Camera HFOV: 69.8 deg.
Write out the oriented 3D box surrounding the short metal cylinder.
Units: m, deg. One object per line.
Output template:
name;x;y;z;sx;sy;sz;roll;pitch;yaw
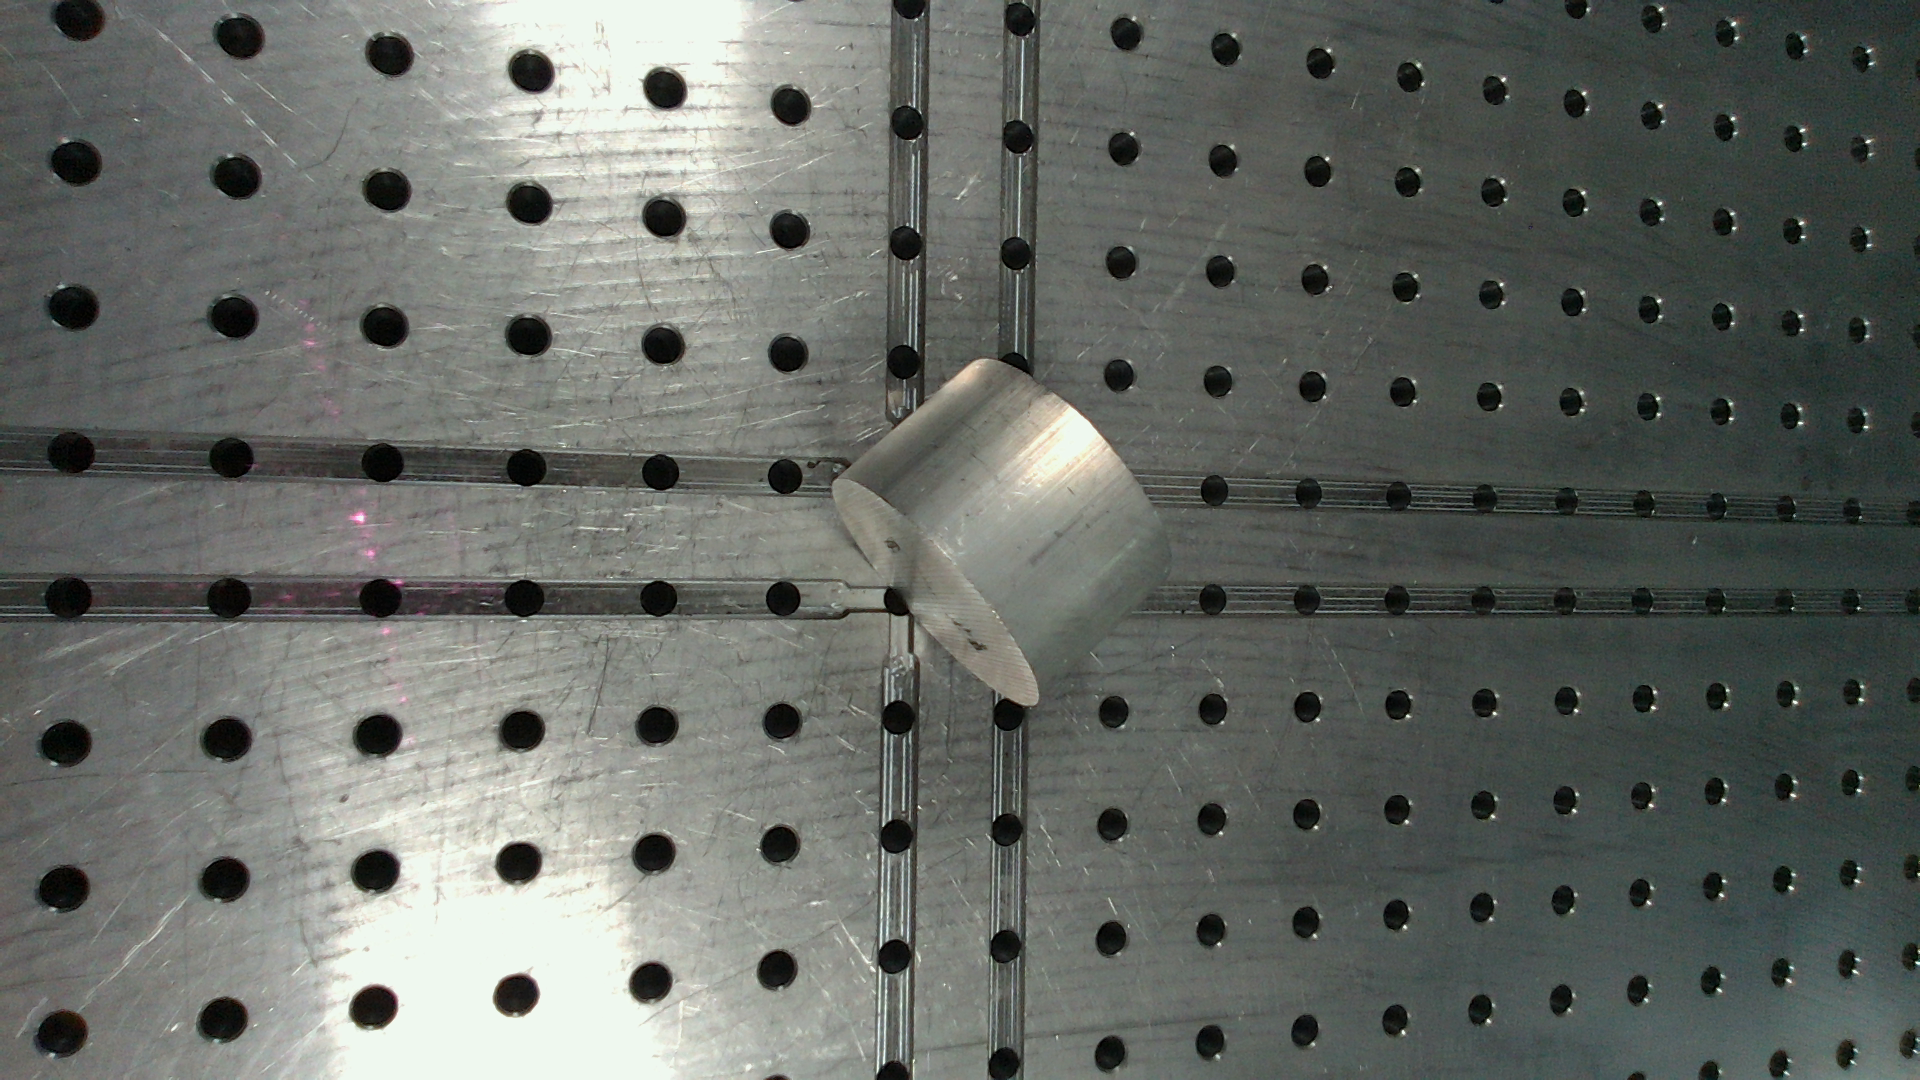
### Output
short metal cylinder;0.011;-0.002;0.370;0.050;0.080;0.080;-42;103;-15
